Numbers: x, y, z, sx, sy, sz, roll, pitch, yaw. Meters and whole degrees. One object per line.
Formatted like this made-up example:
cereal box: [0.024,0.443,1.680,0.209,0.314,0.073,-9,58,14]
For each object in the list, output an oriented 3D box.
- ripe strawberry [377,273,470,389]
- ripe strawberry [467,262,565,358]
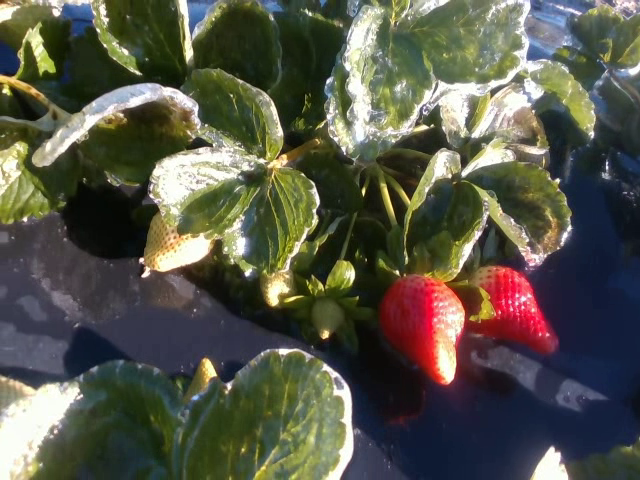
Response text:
ripe strawberry: [0.063,0.049,0.322,0.052,0.070,0.040,15,-33,-30]
ripe strawberry: [0.112,0.037,0.342,0.043,0.059,0.040,-42,-2,-34]
